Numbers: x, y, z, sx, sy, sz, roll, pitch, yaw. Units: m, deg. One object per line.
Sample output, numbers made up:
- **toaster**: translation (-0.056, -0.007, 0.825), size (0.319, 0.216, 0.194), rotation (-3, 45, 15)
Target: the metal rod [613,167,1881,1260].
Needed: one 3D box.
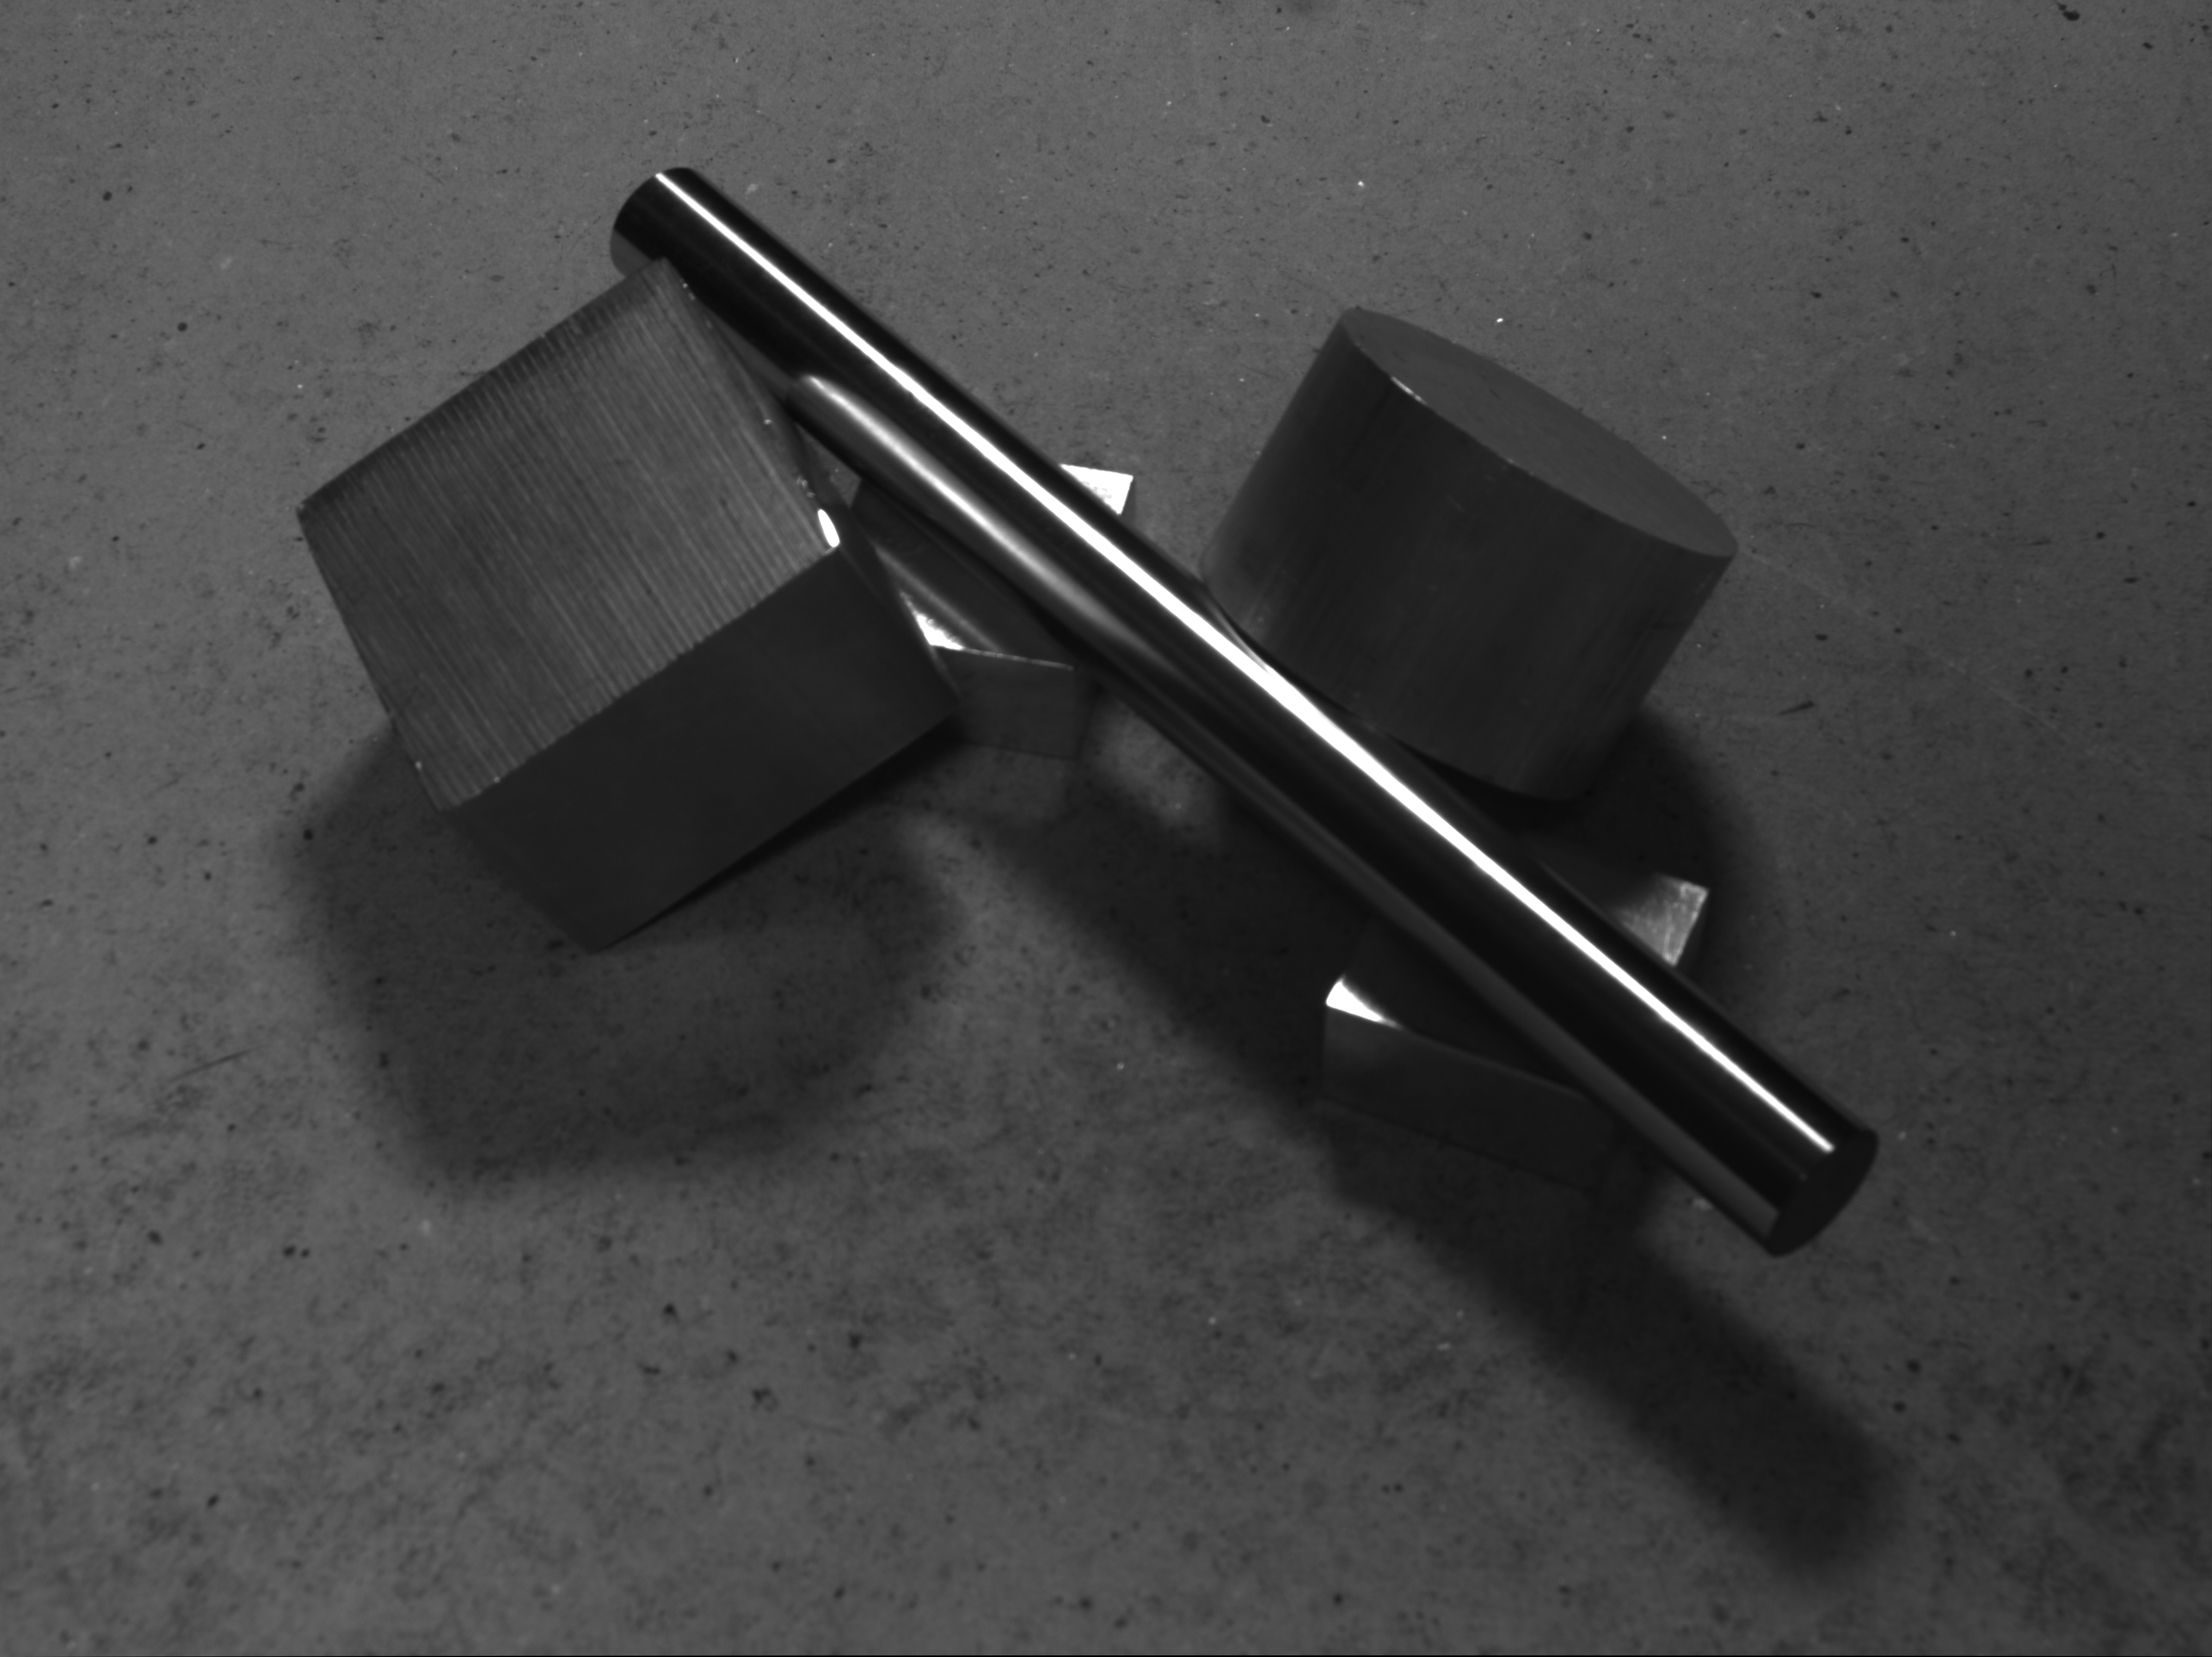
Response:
- **metal rod**: translation (0.013, -0.030, 0.635), size (0.025, 0.025, 0.299), rotation (-33, 57, -25)

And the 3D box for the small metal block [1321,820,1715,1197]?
- **small metal block**: translation (0.070, 0.028, 0.619), size (0.050, 0.025, 0.050), rotation (19, 52, 16)

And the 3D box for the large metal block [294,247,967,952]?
- **large metal block**: translation (-0.083, -0.040, 0.638), size (0.080, 0.050, 0.080), rotation (-34, 55, 3)

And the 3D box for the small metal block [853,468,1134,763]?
- **small metal block**: translation (-0.025, -0.043, 0.679), size (0.050, 0.025, 0.050), rotation (10, 50, 8)

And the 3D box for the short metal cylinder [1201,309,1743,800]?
- **short metal cylinder**: translation (0.064, -0.048, 0.641), size (0.080, 0.050, 0.080), rotation (28, 18, -10)
